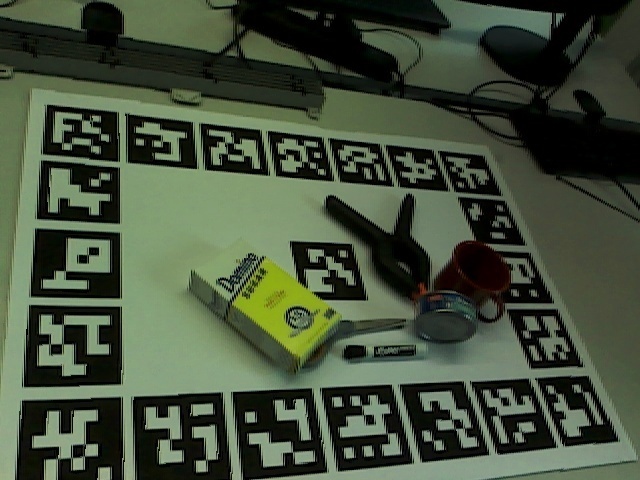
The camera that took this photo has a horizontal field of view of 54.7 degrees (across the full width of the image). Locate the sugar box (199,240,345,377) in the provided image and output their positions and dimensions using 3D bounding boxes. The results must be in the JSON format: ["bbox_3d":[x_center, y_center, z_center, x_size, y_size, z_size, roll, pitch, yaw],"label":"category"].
[{"bbox_3d":[-0.063,0.084,0.808,0.177,0.045,0.092,40,48,17],"label":"sugar box"}]

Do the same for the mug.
[{"bbox_3d":[0.226,0.074,0.930,0.093,0.081,0.118,-24,63,-36],"label":"mug"}]

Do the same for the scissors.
[{"bbox_3d":[0.035,0.117,0.846,0.201,0.016,0.088,-6,53,-30],"label":"scissors"}]

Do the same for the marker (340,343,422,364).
[{"bbox_3d":[0.084,0.154,0.842,0.120,0.019,0.020,-1,55,-24],"label":"marker"}]

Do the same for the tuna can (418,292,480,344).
[{"bbox_3d":[0.182,0.112,0.874,0.085,0.086,0.034,17,49,-11],"label":"tuna can"}]

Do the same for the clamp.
[{"bbox_3d":[0.115,0.013,0.969,0.164,0.037,0.204,-6,58,-28],"label":"clamp"}]
